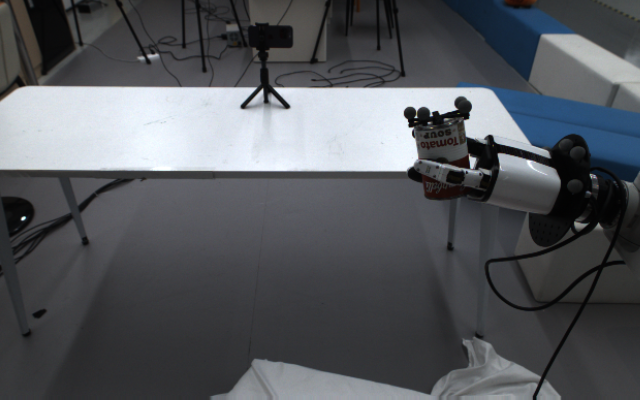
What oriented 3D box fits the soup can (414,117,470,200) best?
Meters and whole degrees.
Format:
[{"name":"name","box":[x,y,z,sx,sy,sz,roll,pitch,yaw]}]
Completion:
[{"name":"soup can","box":[0.171,-0.059,0.666,0.067,0.101,0.067,-12,17,4]}]
